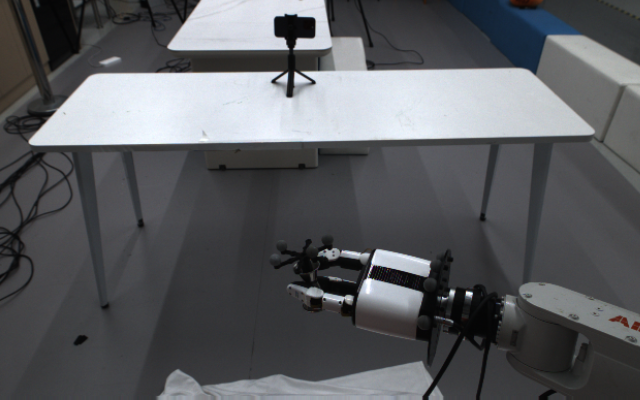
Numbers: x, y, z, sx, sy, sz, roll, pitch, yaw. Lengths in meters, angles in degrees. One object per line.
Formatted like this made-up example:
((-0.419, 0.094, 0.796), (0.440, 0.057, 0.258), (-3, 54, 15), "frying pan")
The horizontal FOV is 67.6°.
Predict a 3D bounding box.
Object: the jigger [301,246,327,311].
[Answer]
((-0.012, 0.124, 0.712), (0.043, 0.071, 0.043), (-11, 24, 5), "jigger")
